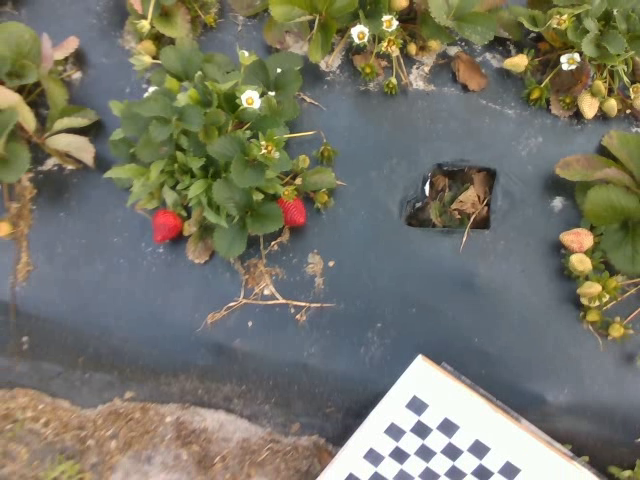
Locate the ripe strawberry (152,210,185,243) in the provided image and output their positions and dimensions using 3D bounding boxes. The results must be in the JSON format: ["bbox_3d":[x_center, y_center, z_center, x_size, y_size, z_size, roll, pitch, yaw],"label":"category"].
[{"bbox_3d":[-0.197,-0.015,0.677,0.043,0.051,0.043,20,-15,2],"label":"ripe strawberry"}]

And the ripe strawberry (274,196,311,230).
[{"bbox_3d":[-0.036,-0.034,0.676,0.046,0.043,0.046,40,12,28],"label":"ripe strawberry"}]
